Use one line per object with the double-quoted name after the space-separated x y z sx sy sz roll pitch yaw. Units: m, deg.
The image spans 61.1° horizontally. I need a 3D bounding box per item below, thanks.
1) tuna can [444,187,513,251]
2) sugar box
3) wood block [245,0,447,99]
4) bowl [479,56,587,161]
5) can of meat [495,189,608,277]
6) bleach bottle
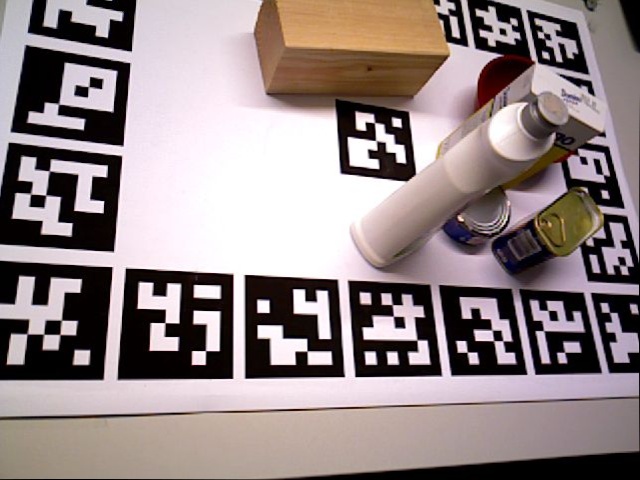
0.180 -0.031 0.634 0.085 0.034 0.085 6 71 -18 "tuna can"
0.221 -0.113 0.599 0.092 0.180 0.044 23 64 -7 "sugar box"
0.029 -0.226 0.627 0.203 0.091 0.091 -5 76 -23 "wood block"
0.268 -0.161 0.708 0.160 0.056 0.160 6 68 -15 "bowl"
0.267 -0.008 0.637 0.100 0.085 0.058 -28 78 -29 "can of meat"
0.125 -0.054 0.501 0.100 0.256 0.068 -23 78 -27 "bleach bottle"
